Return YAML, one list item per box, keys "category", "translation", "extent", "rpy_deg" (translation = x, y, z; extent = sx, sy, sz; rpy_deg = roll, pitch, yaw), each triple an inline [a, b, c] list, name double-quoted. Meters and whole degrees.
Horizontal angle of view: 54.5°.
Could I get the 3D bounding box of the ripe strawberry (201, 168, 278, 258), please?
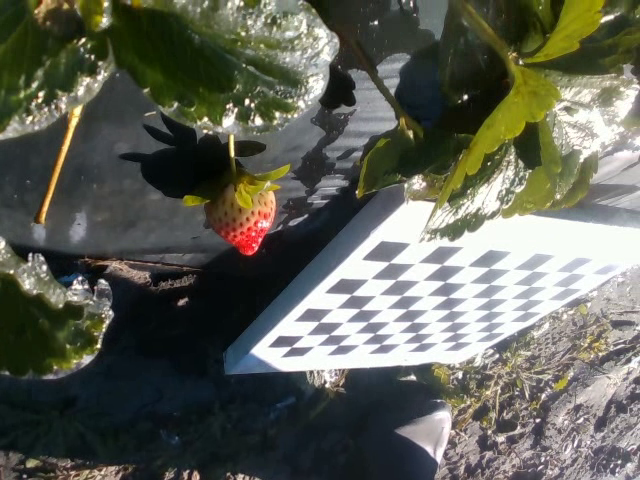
- category: "ripe strawberry"
  translation: [-0.037, -0.011, 0.298]
  extent: [0.039, 0.053, 0.041]
  rpy_deg: [-7, 45, -13]
